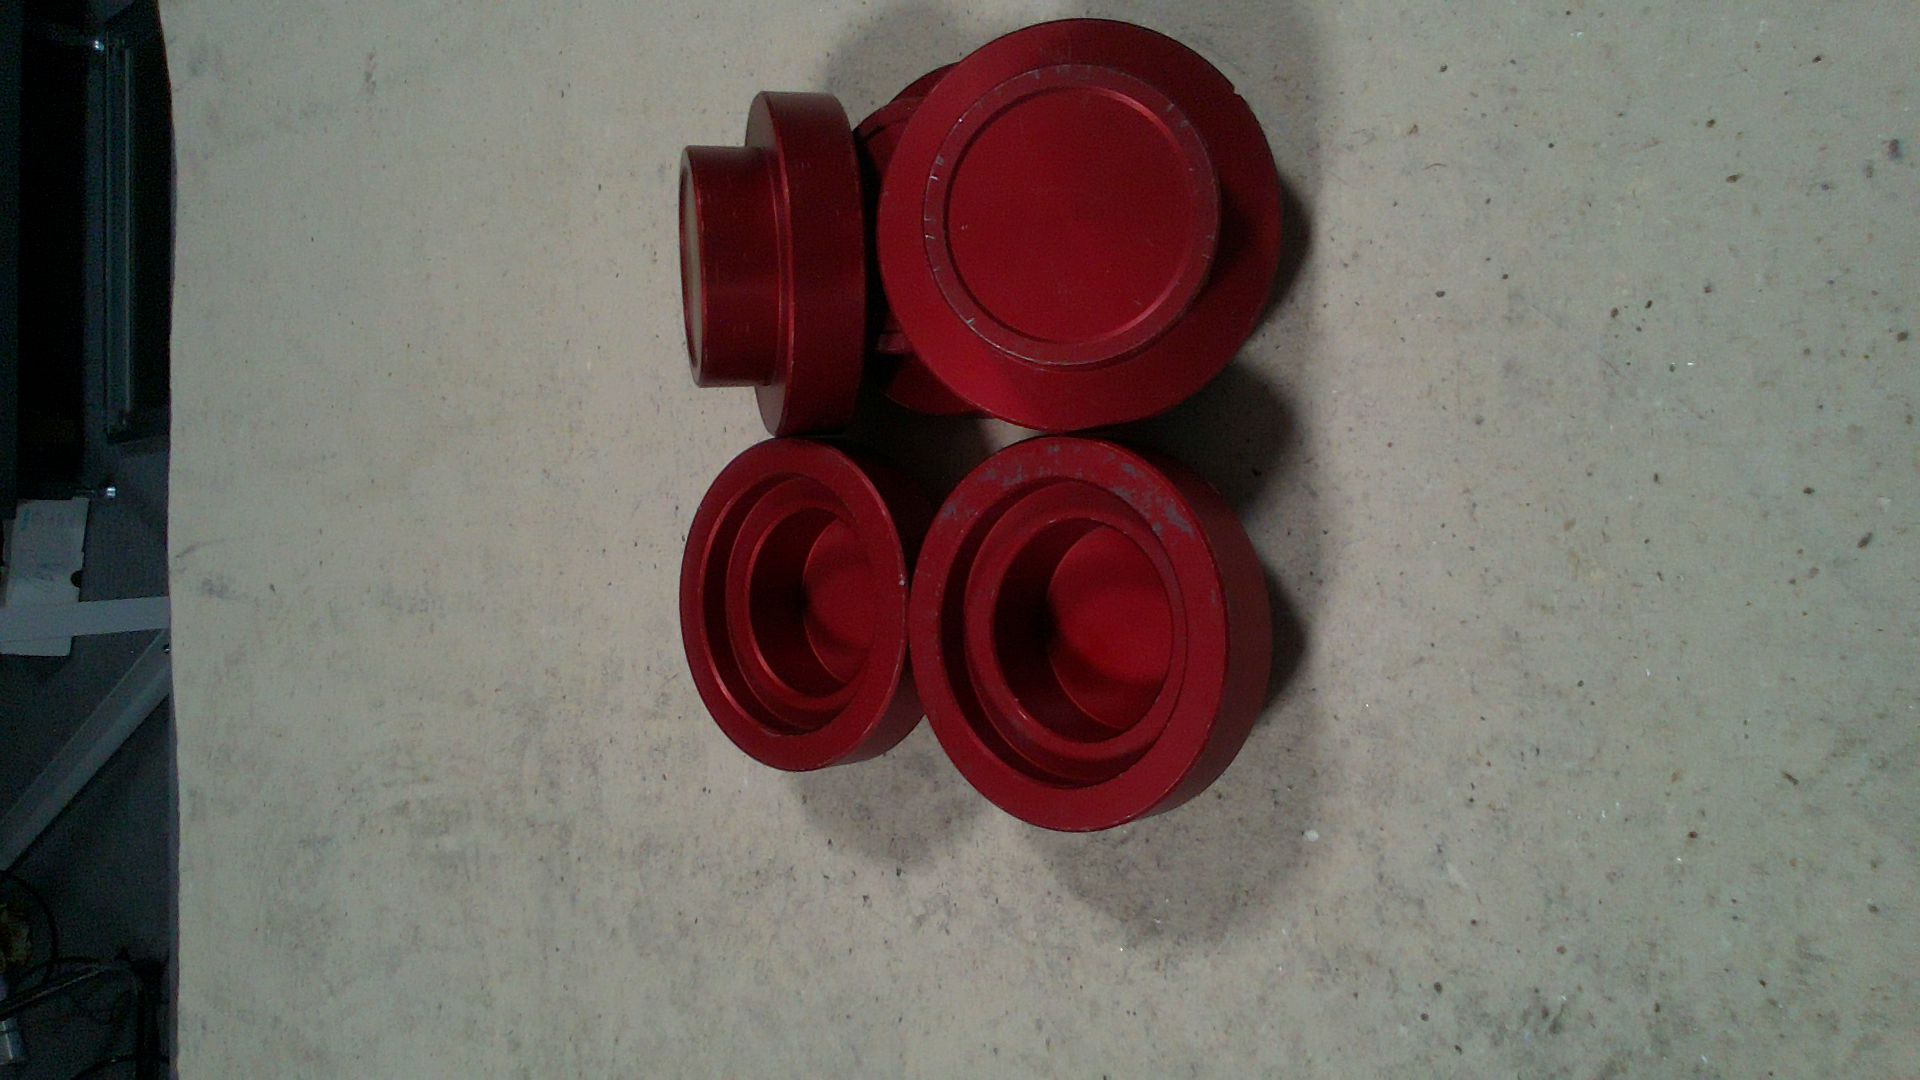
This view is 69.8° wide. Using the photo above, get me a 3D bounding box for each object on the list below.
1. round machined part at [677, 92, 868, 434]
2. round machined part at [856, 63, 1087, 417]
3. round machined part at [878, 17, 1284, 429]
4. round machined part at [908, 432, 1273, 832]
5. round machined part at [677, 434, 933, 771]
[{"bbox_3d":[-0.058,-0.079,0.401,0.098,0.042,0.098,177,90,-74],"label":"round machined part"},{"bbox_3d":[-0.004,-0.085,0.386,0.098,0.042,0.098,0,90,40],"label":"round machined part"},{"bbox_3d":[0.028,-0.076,0.332,0.098,0.042,0.098,1,95,9],"label":"round machined part"},{"bbox_3d":[0.036,0.022,0.353,0.098,0.042,0.098,0,90,40],"label":"round machined part"},{"bbox_3d":[-0.038,0.018,0.416,0.098,0.042,0.098,0,90,40],"label":"round machined part"}]
